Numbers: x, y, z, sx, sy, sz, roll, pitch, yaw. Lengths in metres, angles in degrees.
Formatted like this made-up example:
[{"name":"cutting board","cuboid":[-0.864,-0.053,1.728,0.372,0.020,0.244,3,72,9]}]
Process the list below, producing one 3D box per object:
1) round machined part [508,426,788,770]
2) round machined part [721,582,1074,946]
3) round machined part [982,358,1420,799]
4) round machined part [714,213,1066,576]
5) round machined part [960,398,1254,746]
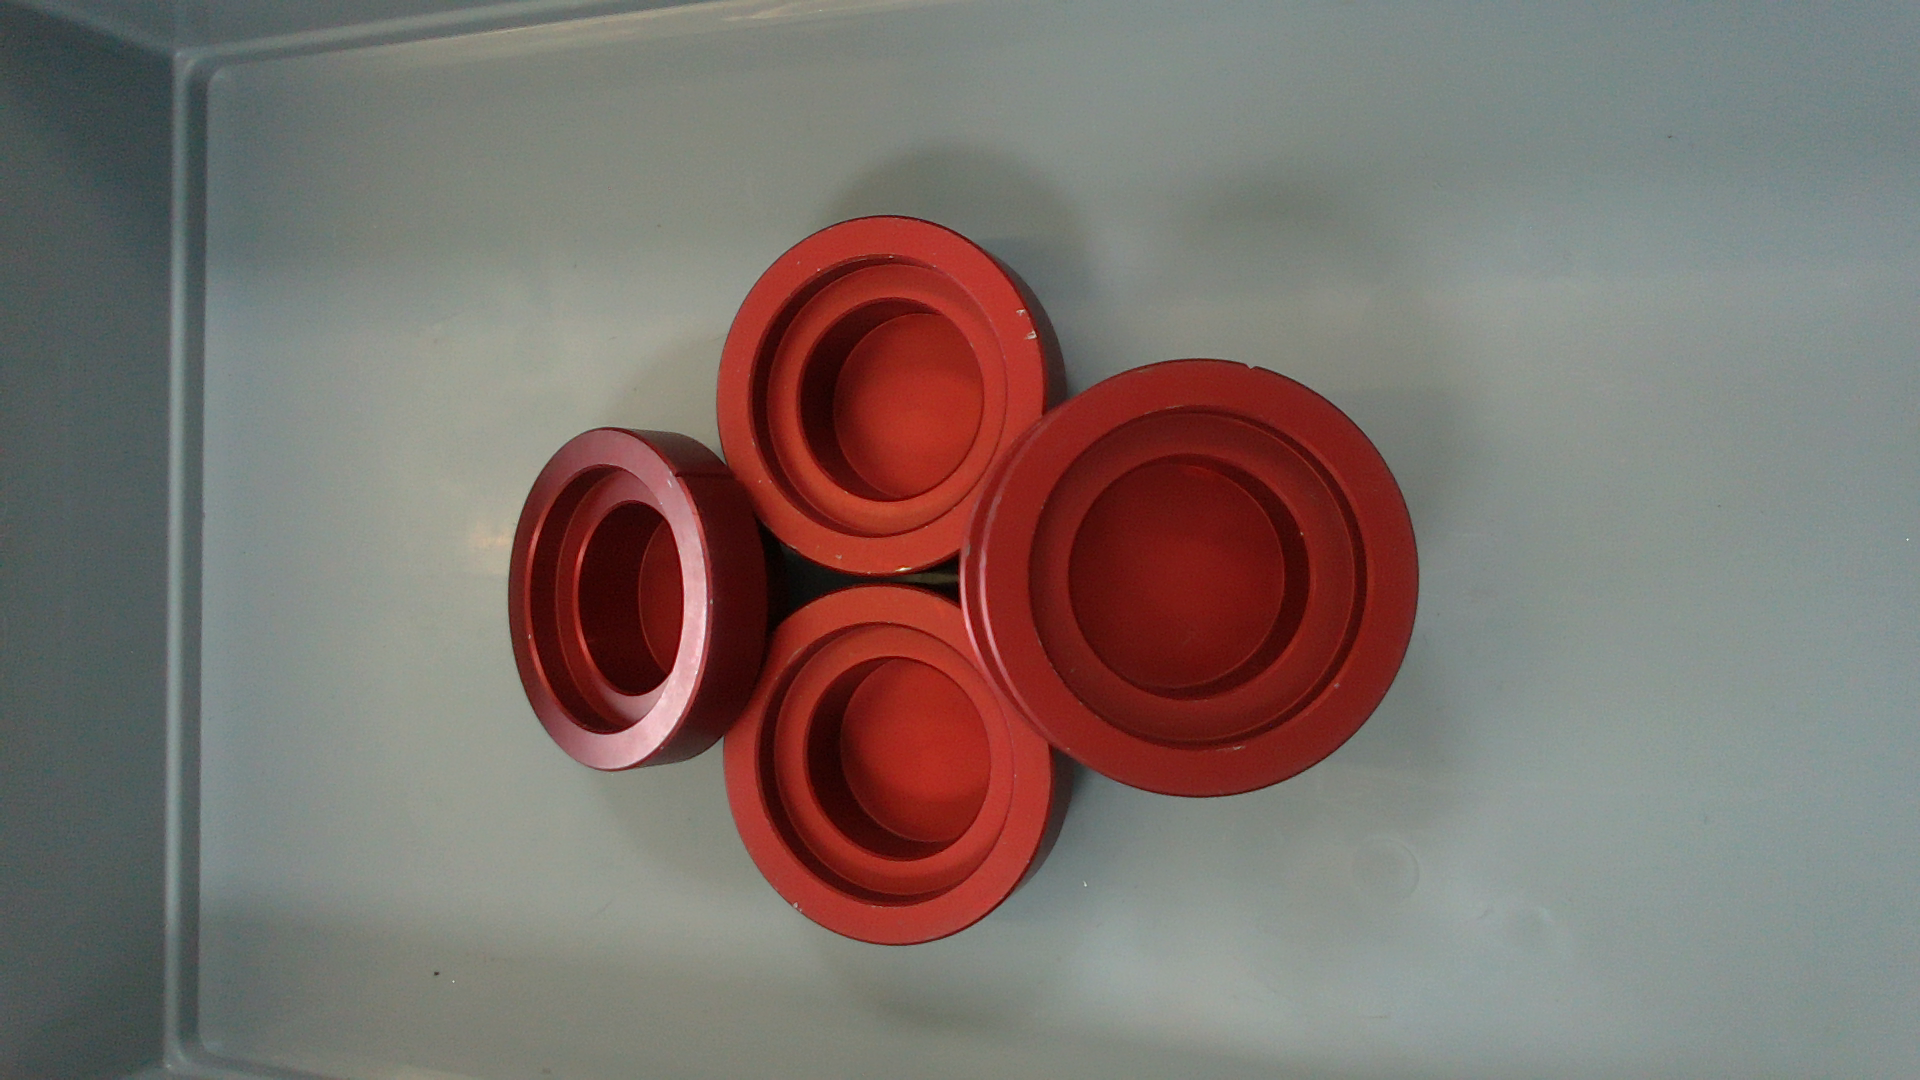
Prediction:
[{"name":"round machined part","cuboid":[-0.089,0.017,0.407,0.098,0.042,0.098,0,89,41]},{"name":"round machined part","cuboid":[-0.015,0.060,0.390,0.098,0.042,0.098,0,90,20]},{"name":"round machined part","cuboid":[0.053,0.009,0.325,0.098,0.042,0.098,0,90,-2]},{"name":"round machined part","cuboid":[-0.017,-0.039,0.391,0.098,0.042,0.098,0,90,20]},{"name":"round machined part","cuboid":[0.049,0.009,0.357,0.098,0.042,0.098,0,89,-2]}]
